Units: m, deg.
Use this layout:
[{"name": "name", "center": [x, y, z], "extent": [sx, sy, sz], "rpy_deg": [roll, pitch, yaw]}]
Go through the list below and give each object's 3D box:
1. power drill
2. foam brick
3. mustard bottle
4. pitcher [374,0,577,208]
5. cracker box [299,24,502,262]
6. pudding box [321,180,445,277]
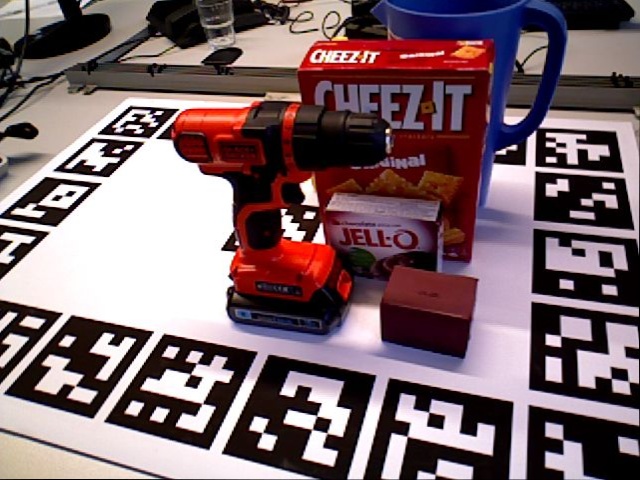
[{"name": "power drill", "center": [-0.022, -0.031, 0.456], "extent": [0.185, 0.191, 0.056], "rpy_deg": [7, 40, 16]}, {"name": "foam brick", "center": [0.100, 0.063, 0.485], "extent": [0.078, 0.052, 0.051], "rpy_deg": [9, 46, 19]}, {"name": "mustard bottle", "center": [0.028, -0.153, 0.618], "extent": [0.096, 0.195, 0.057], "rpy_deg": [18, 48, 27]}, {"name": "pitcher", "center": [0.153, -0.145, 0.569], "extent": [0.190, 0.247, 0.130], "rpy_deg": [11, 45, 23]}, {"name": "cracker box", "center": [0.078, -0.081, 0.519], "extent": [0.165, 0.218, 0.070], "rpy_deg": [5, 41, 18]}, {"name": "pudding box", "center": [0.062, -0.010, 0.524], "extent": [0.114, 0.092, 0.038], "rpy_deg": [6, 41, 20]}]
